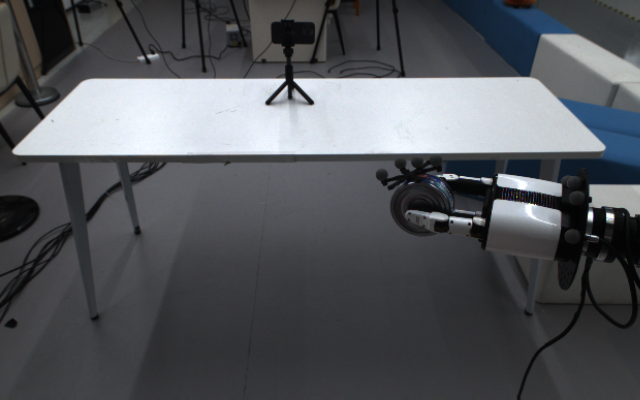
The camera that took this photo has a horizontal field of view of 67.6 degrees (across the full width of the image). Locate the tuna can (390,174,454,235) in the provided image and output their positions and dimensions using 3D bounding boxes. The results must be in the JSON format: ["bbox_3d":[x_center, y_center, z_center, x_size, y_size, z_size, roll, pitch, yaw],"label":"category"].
[{"bbox_3d":[0.145,0.005,0.680,0.085,0.085,0.034,14,30,17],"label":"tuna can"}]
